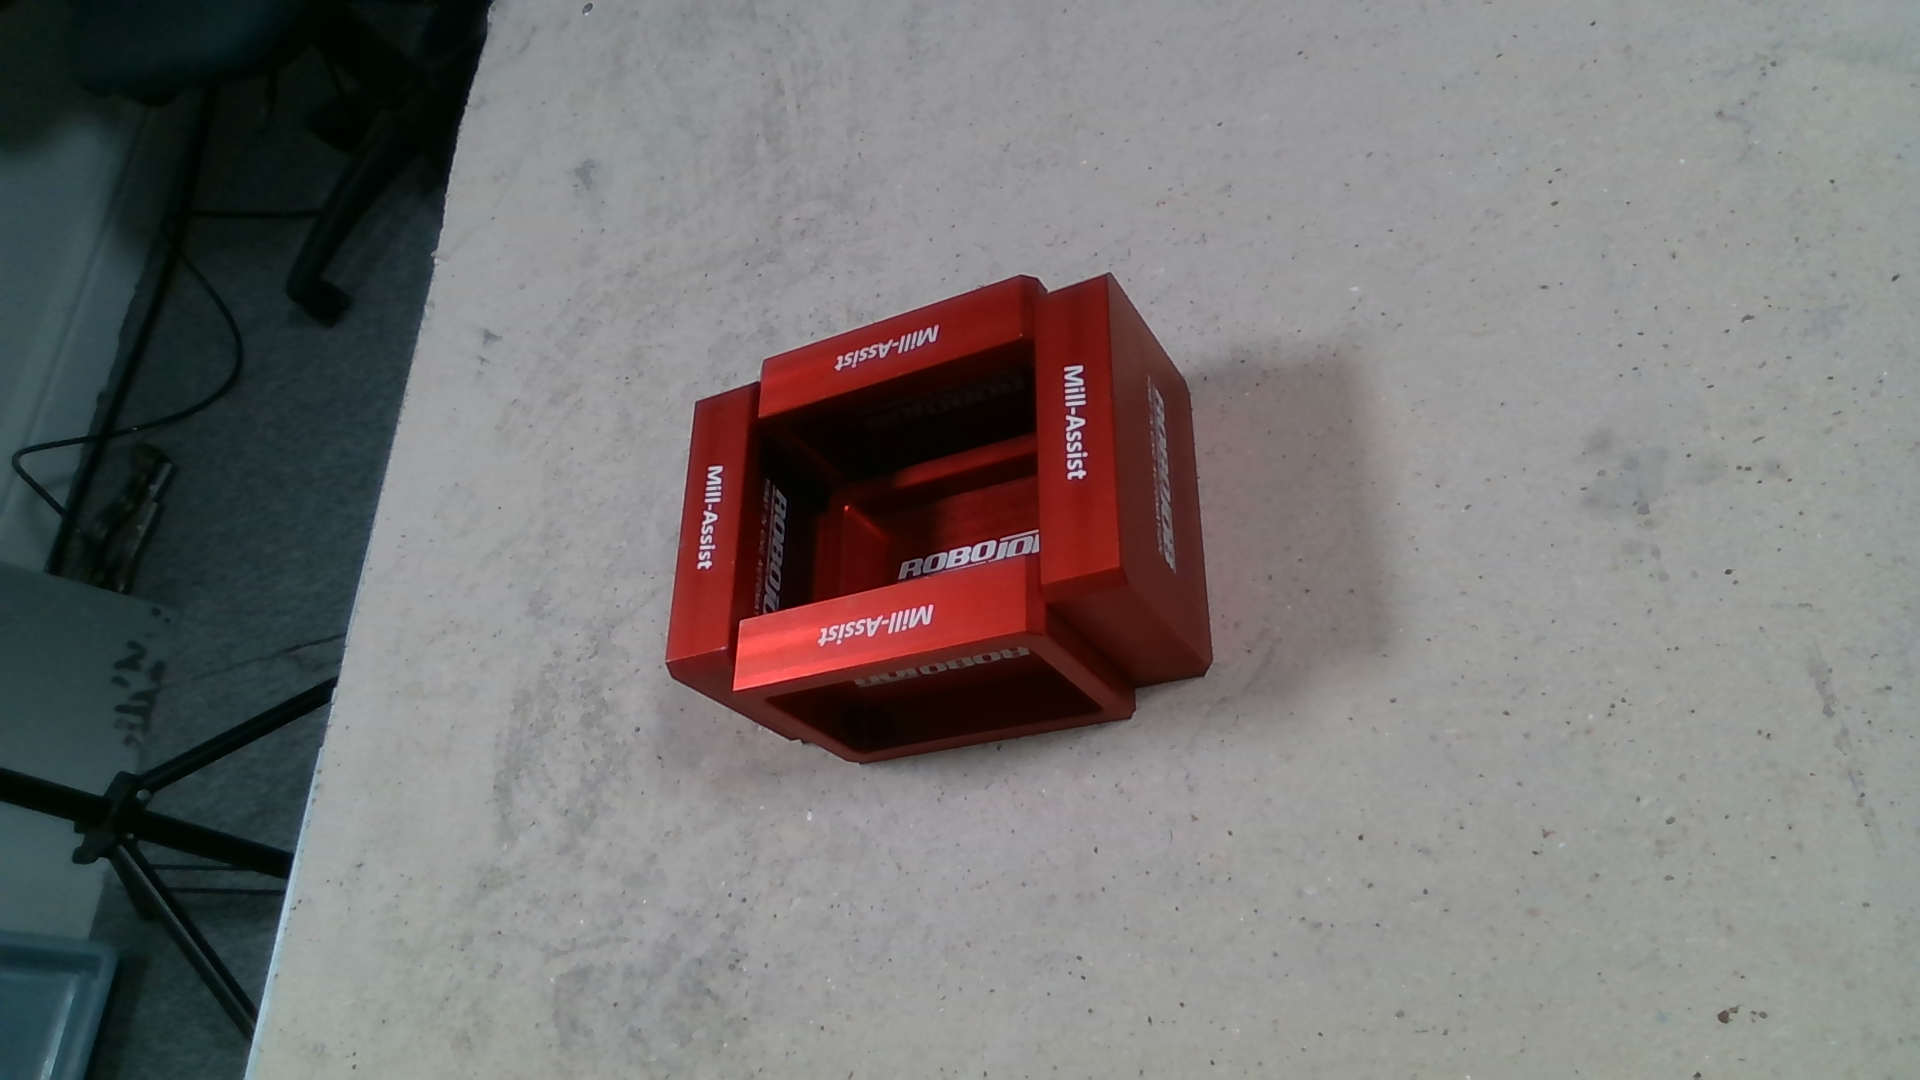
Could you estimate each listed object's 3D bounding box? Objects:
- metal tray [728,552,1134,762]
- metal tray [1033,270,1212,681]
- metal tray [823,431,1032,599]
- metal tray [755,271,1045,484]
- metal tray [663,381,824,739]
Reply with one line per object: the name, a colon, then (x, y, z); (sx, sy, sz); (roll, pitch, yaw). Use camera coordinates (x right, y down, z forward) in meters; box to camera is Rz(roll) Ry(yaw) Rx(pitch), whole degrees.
metal tray: (-0.010, 0.049, 0.523); (0.130, 0.090, 0.030); (-14, 59, 25)
metal tray: (0.061, -0.023, 0.518); (0.030, 0.090, 0.130); (-14, 59, 25)
metal tray: (0.005, 0.007, 0.575); (0.130, 0.030, 0.090); (-14, 59, 25)
metal tray: (-0.009, -0.059, 0.580); (0.130, 0.090, 0.030); (-14, 59, 25)
metal tray: (-0.080, 0.009, 0.587); (0.030, 0.090, 0.130); (-14, 59, 25)
